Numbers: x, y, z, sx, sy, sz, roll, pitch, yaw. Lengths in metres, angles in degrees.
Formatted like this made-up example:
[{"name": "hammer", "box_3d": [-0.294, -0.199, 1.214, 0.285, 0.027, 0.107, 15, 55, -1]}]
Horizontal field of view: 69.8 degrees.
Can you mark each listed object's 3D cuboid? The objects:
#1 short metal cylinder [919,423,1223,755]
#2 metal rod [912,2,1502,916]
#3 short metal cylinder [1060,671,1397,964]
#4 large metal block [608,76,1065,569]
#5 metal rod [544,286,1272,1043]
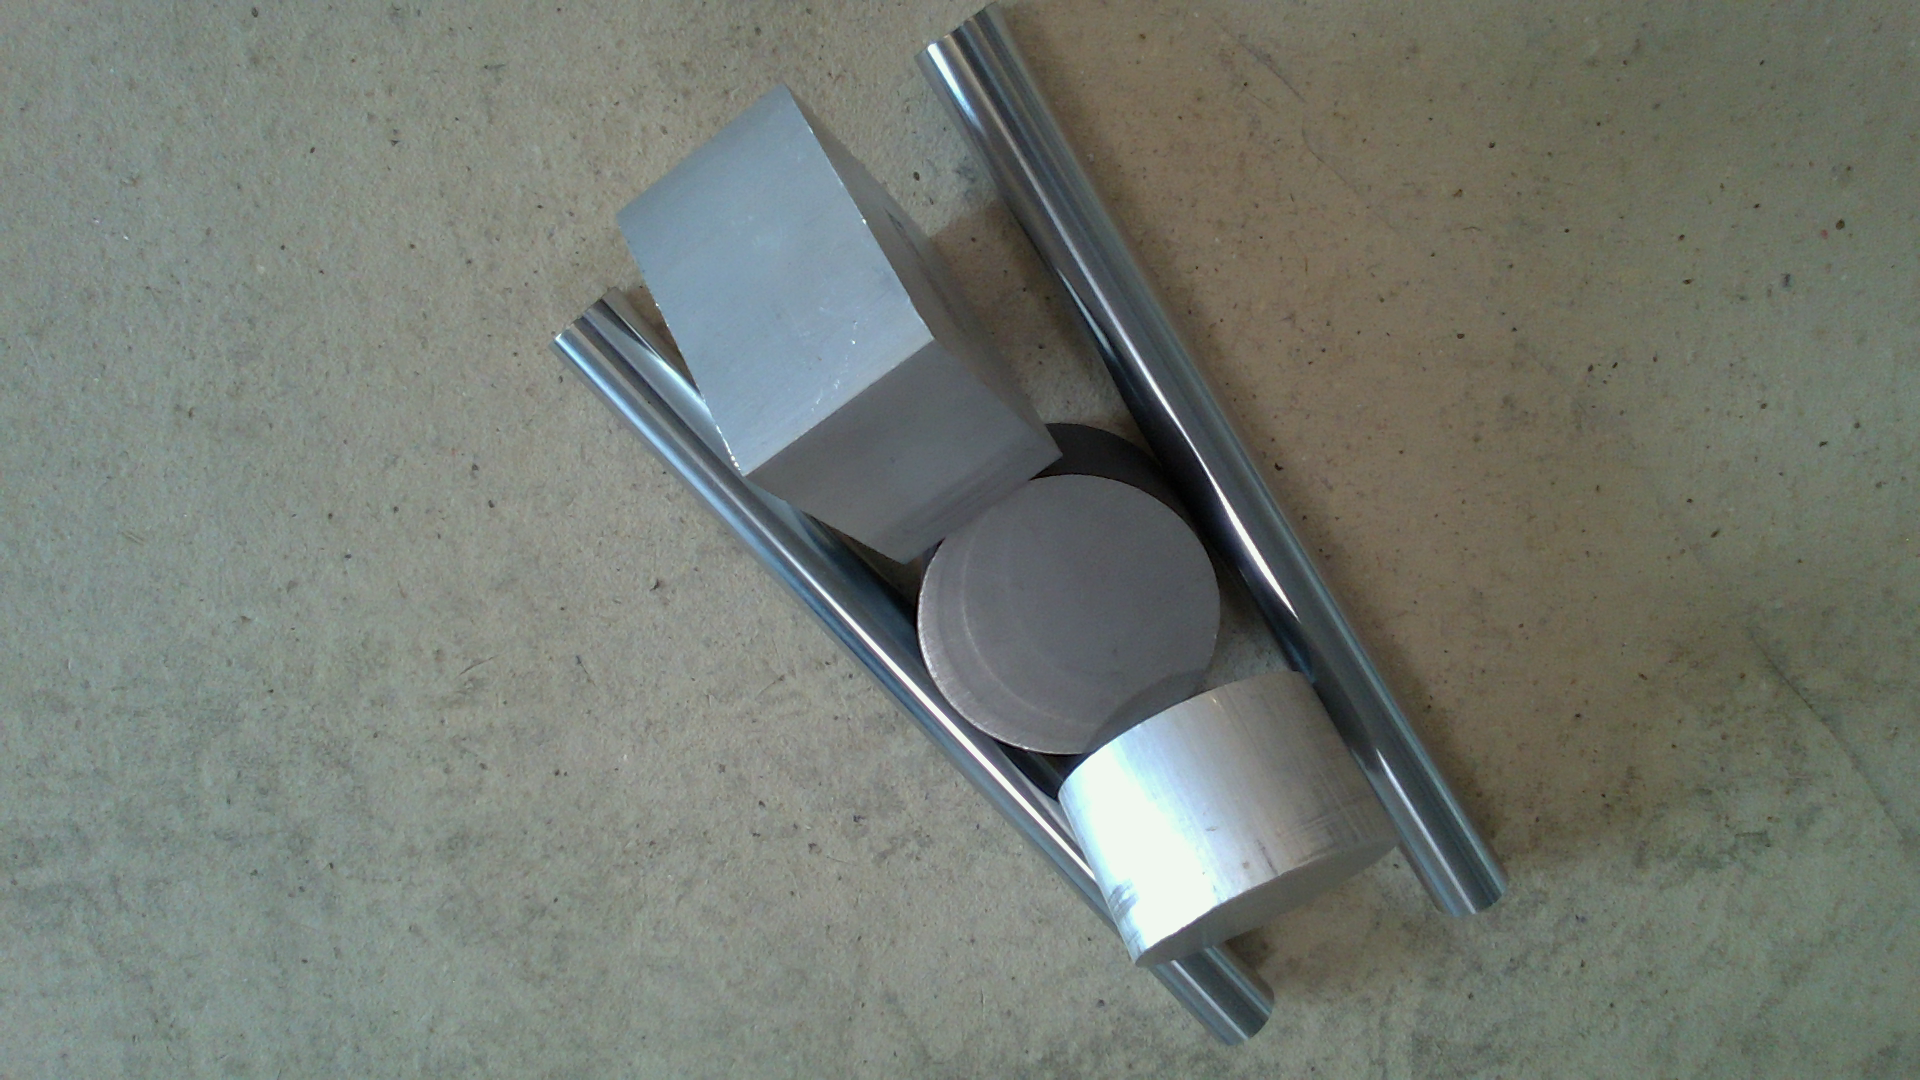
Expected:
[{"name": "short metal cylinder", "box_3d": [0.029, 0.012, 0.385, 0.080, 0.050, 0.080, 0, 110, 0]}, {"name": "metal rod", "box_3d": [0.079, -0.009, 0.390, 0.025, 0.025, 0.300, -31, 107, 11]}, {"name": "short metal cylinder", "box_3d": [0.074, 0.079, 0.388, 0.080, 0.080, 0.050, -30, 65, 10]}, {"name": "large metal block", "box_3d": [-0.027, -0.048, 0.330, 0.050, 0.080, 0.080, -35, 65, 12]}, {"name": "metal rod", "box_3d": [-0.005, 0.047, 0.411, 0.025, 0.025, 0.300, -39, 106, 13]}]
